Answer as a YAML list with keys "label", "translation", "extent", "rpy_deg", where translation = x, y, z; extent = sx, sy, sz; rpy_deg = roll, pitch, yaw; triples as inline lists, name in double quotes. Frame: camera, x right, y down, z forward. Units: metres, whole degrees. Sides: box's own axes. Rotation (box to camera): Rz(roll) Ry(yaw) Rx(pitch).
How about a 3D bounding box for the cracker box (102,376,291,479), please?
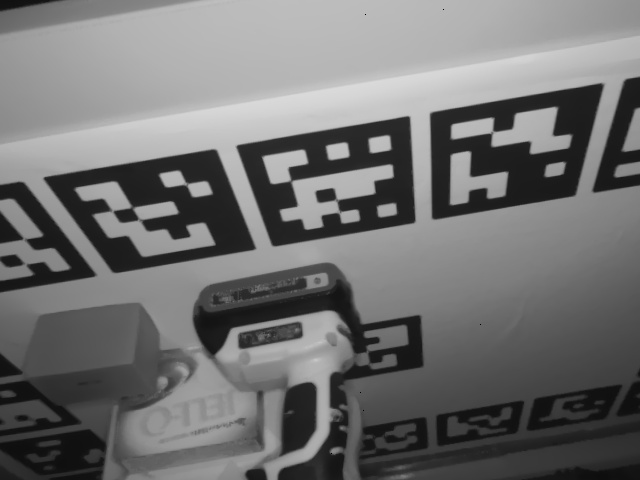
- label: "cracker box"
  translation: [-0.091, 0.214, 0.563]
  extent: [0.164, 0.215, 0.071]
  rpy_deg: [-12, 139, 2]

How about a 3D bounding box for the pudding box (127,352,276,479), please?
- label: "pudding box"
  translation: [-0.095, 0.141, 0.564]
  extent: [0.114, 0.090, 0.038]
  rpy_deg: [-10, 139, -1]

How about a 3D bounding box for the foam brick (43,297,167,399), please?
- label: "foam brick"
  translation: [-0.164, 0.084, 0.540]
  extent: [0.078, 0.052, 0.052]
  rpy_deg: [-8, 136, 0]

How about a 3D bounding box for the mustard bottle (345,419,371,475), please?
- label: "mustard bottle"
  translation: [0.008, 0.262, 0.640]
  extent: [0.097, 0.192, 0.058]
  rpy_deg: [0, 136, -8]

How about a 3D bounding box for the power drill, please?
- label: "power drill"
  translation: [-0.037, 0.141, 0.471]
  extent: [0.184, 0.188, 0.057]
  rpy_deg: [-9, 141, 3]
